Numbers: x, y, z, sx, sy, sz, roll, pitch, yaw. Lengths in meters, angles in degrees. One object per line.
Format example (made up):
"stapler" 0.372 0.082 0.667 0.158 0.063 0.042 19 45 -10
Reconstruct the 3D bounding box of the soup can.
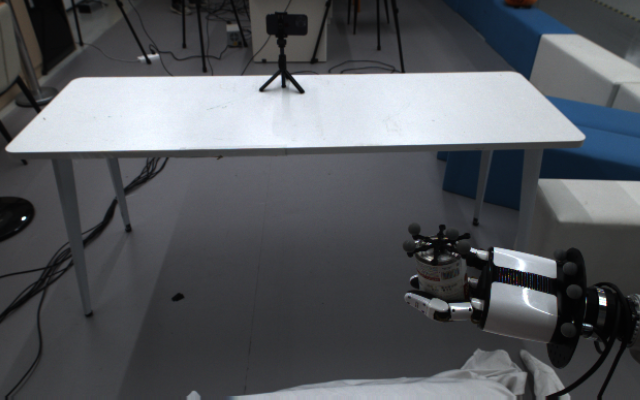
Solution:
"soup can" 0.170 0.106 0.665 0.067 0.101 0.067 -11 27 6
